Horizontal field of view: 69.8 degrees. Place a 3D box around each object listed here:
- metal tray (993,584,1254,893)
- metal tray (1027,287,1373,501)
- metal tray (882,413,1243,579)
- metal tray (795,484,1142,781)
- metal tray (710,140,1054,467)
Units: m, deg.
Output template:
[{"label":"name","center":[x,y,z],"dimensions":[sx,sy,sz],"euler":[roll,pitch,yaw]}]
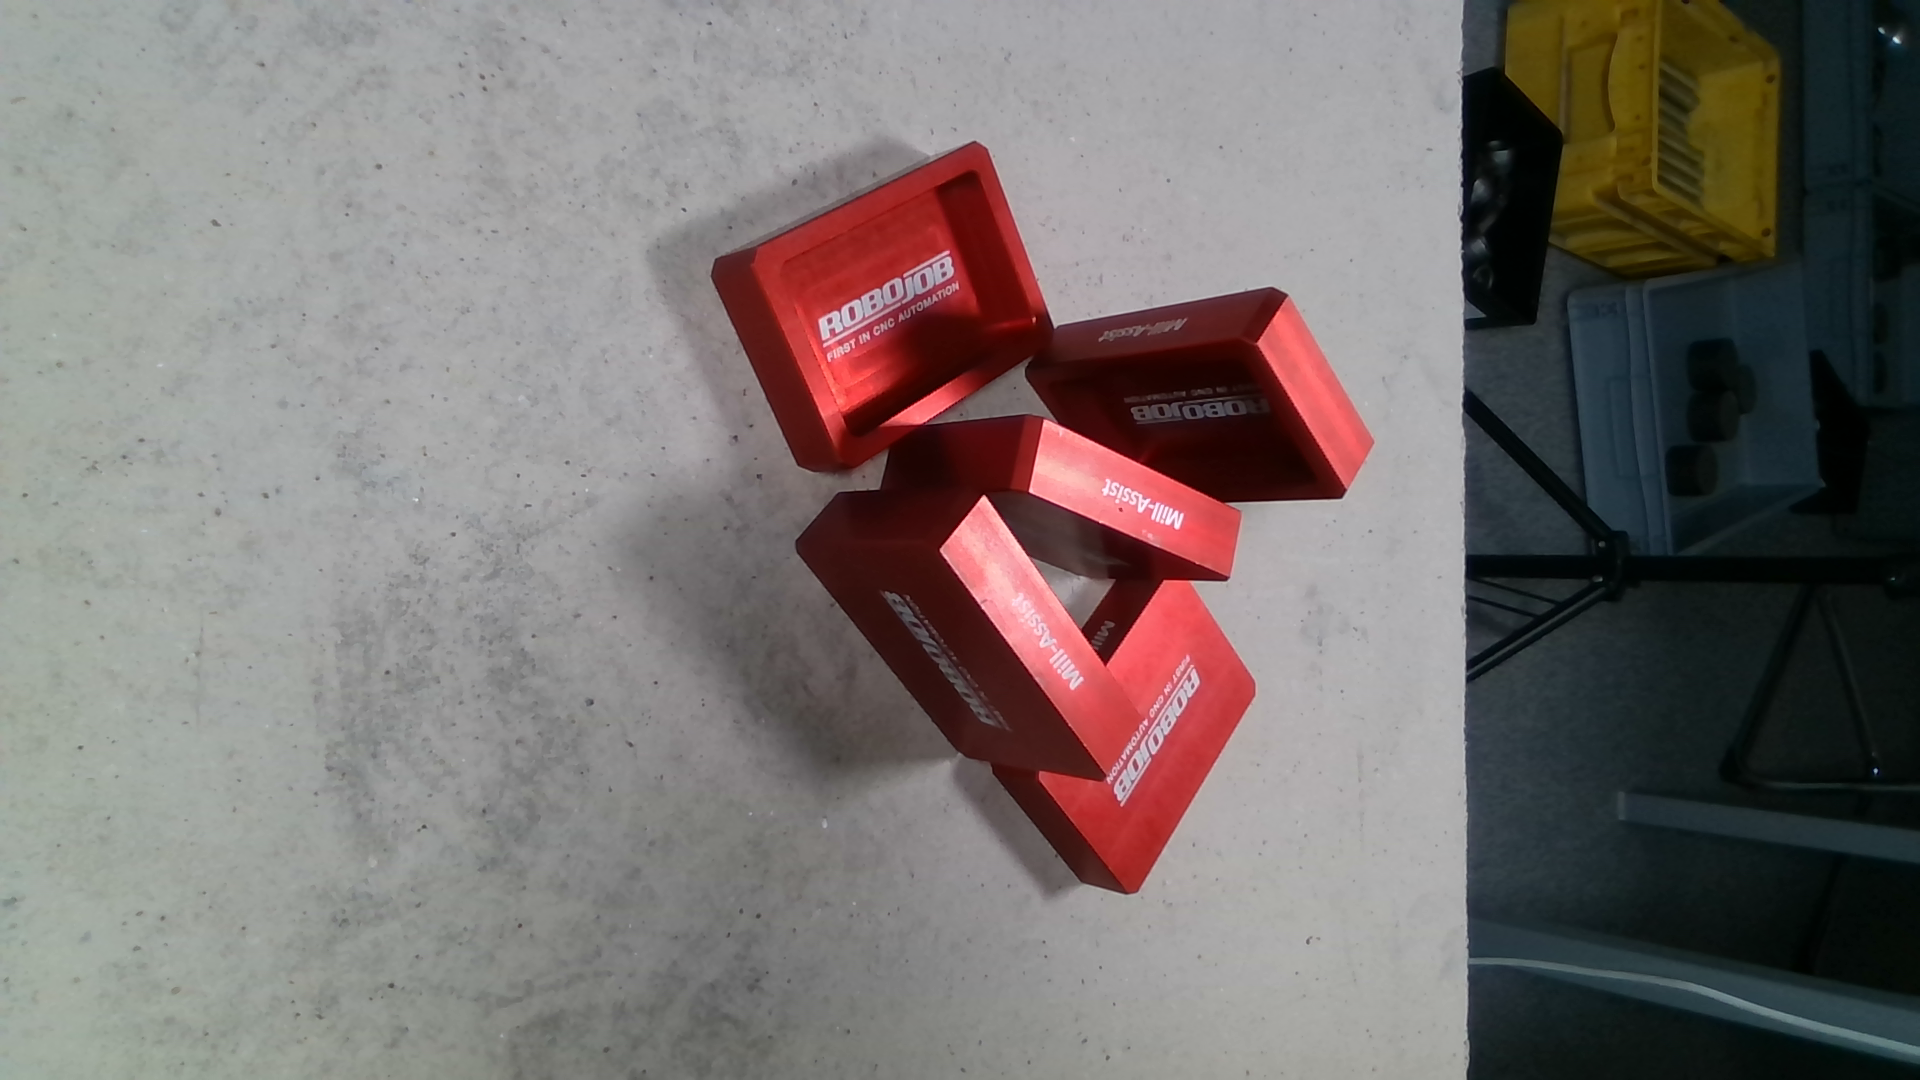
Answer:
[{"label":"metal tray","center":[0.081,0.087,0.648],"dimensions":[0.130,0.030,0.090],"euler":[-52,121,-27]},{"label":"metal tray","center":[0.101,-0.058,0.600],"dimensions":[0.090,0.130,0.030],"euler":[51,60,-28]},{"label":"metal tray","center":[0.044,-0.015,0.577],"dimensions":[0.130,0.090,0.030],"euler":[21,76,-38]},{"label":"metal tray","center":[0.003,0.037,0.543],"dimensions":[0.030,0.090,0.130],"euler":[-51,120,-28]},{"label":"metal tray","center":[-0.027,-0.096,0.557],"dimensions":[0.130,0.030,0.090],"euler":[-36,112,-34]}]
